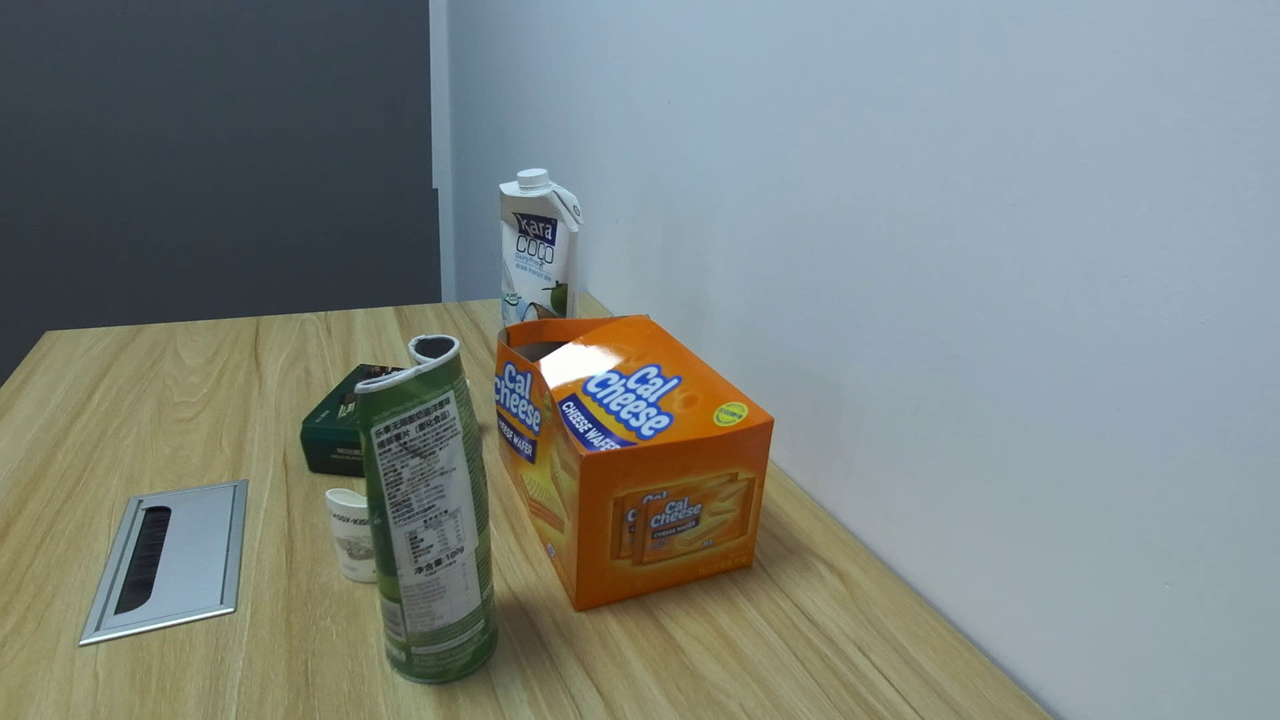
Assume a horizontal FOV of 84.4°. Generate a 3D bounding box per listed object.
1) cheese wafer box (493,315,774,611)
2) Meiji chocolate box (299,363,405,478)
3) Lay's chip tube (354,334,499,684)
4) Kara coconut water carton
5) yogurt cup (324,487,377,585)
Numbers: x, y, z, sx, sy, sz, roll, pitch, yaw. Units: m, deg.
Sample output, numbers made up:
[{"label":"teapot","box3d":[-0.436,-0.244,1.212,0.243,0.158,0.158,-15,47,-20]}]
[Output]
[{"label":"cheese wafer box","box3d":[-0.021,0.063,0.566,0.153,0.132,0.229,-8,27,-23]},{"label":"Meiji chocolate box","box3d":[-0.243,0.059,0.683,0.122,0.058,0.116,4,29,7]},{"label":"Lay's chip tube","box3d":[-0.117,0.087,0.403,0.069,0.201,0.077,-6,23,-21]},{"label":"Kara coconut water carton","box3d":[-0.102,-0.075,0.723,0.114,0.238,0.069,18,29,30]},{"label":"yogurt cup","box3d":[-0.234,0.141,0.598,0.067,0.070,0.067,6,13,-1]}]
